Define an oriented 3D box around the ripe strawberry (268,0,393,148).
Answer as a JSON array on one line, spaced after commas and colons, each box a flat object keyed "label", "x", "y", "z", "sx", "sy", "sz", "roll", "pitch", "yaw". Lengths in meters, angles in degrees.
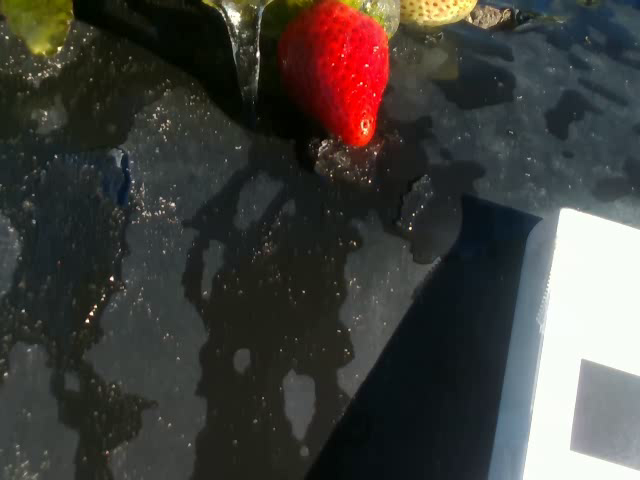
[{"label": "ripe strawberry", "x": 0.010, "y": -0.053, "z": 0.198, "sx": 0.041, "sy": 0.052, "sz": 0.040, "roll": 1, "pitch": -28, "yaw": -10}]
